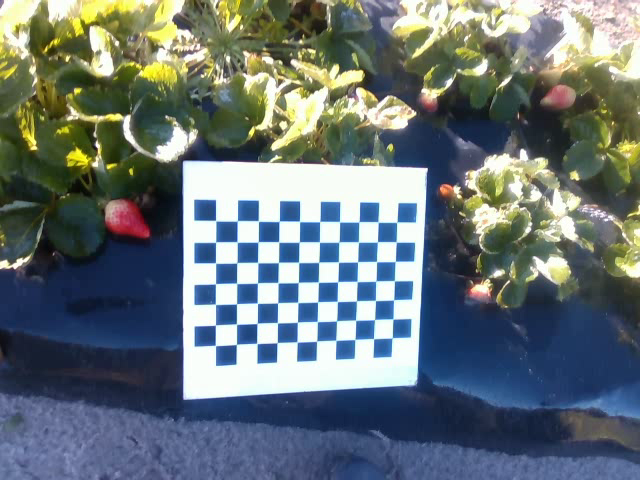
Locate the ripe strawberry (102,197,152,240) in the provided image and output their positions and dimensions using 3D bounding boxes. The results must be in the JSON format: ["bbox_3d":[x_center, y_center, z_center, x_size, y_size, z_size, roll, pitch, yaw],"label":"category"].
[{"bbox_3d":[-0.228,-0.018,0.696,0.065,0.040,0.040,42,-7,-14],"label":"ripe strawberry"}]
